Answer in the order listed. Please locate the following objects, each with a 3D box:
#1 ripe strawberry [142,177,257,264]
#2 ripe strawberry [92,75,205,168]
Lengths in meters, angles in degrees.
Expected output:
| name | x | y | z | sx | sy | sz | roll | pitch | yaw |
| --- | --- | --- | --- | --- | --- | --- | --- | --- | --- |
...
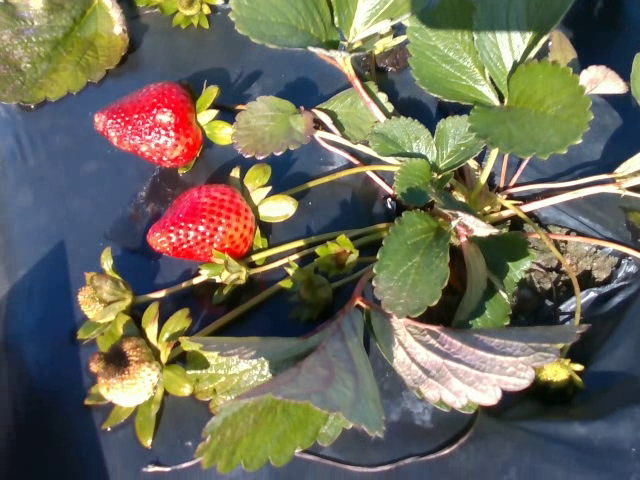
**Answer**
| name | x | y | z | sx | sy | sz | roll | pitch | yaw |
| --- | --- | --- | --- | --- | --- | --- | --- | --- | --- |
| ripe strawberry | -0.049 | -0.004 | 0.242 | 0.049 | 0.039 | 0.042 | -16 | 14 | -43 |
| ripe strawberry | -0.081 | -0.055 | 0.284 | 0.050 | 0.051 | 0.045 | 4 | -30 | -27 |
